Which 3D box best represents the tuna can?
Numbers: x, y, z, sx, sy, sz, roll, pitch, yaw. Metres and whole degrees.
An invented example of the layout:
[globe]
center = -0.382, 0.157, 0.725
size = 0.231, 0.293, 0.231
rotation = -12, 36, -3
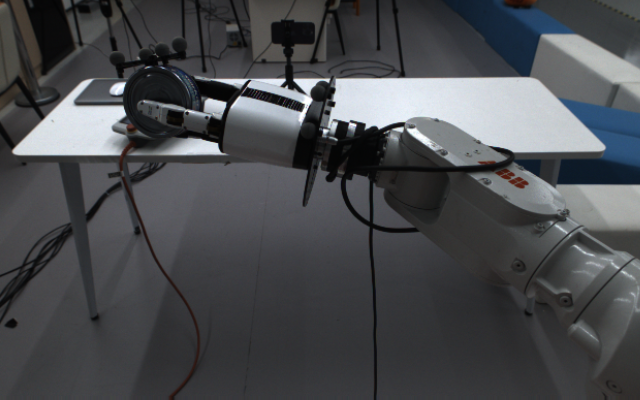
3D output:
[tuna can]
center = -0.187, -0.117, 0.577
size = 0.085, 0.085, 0.034
rotation = 6, 18, 5
